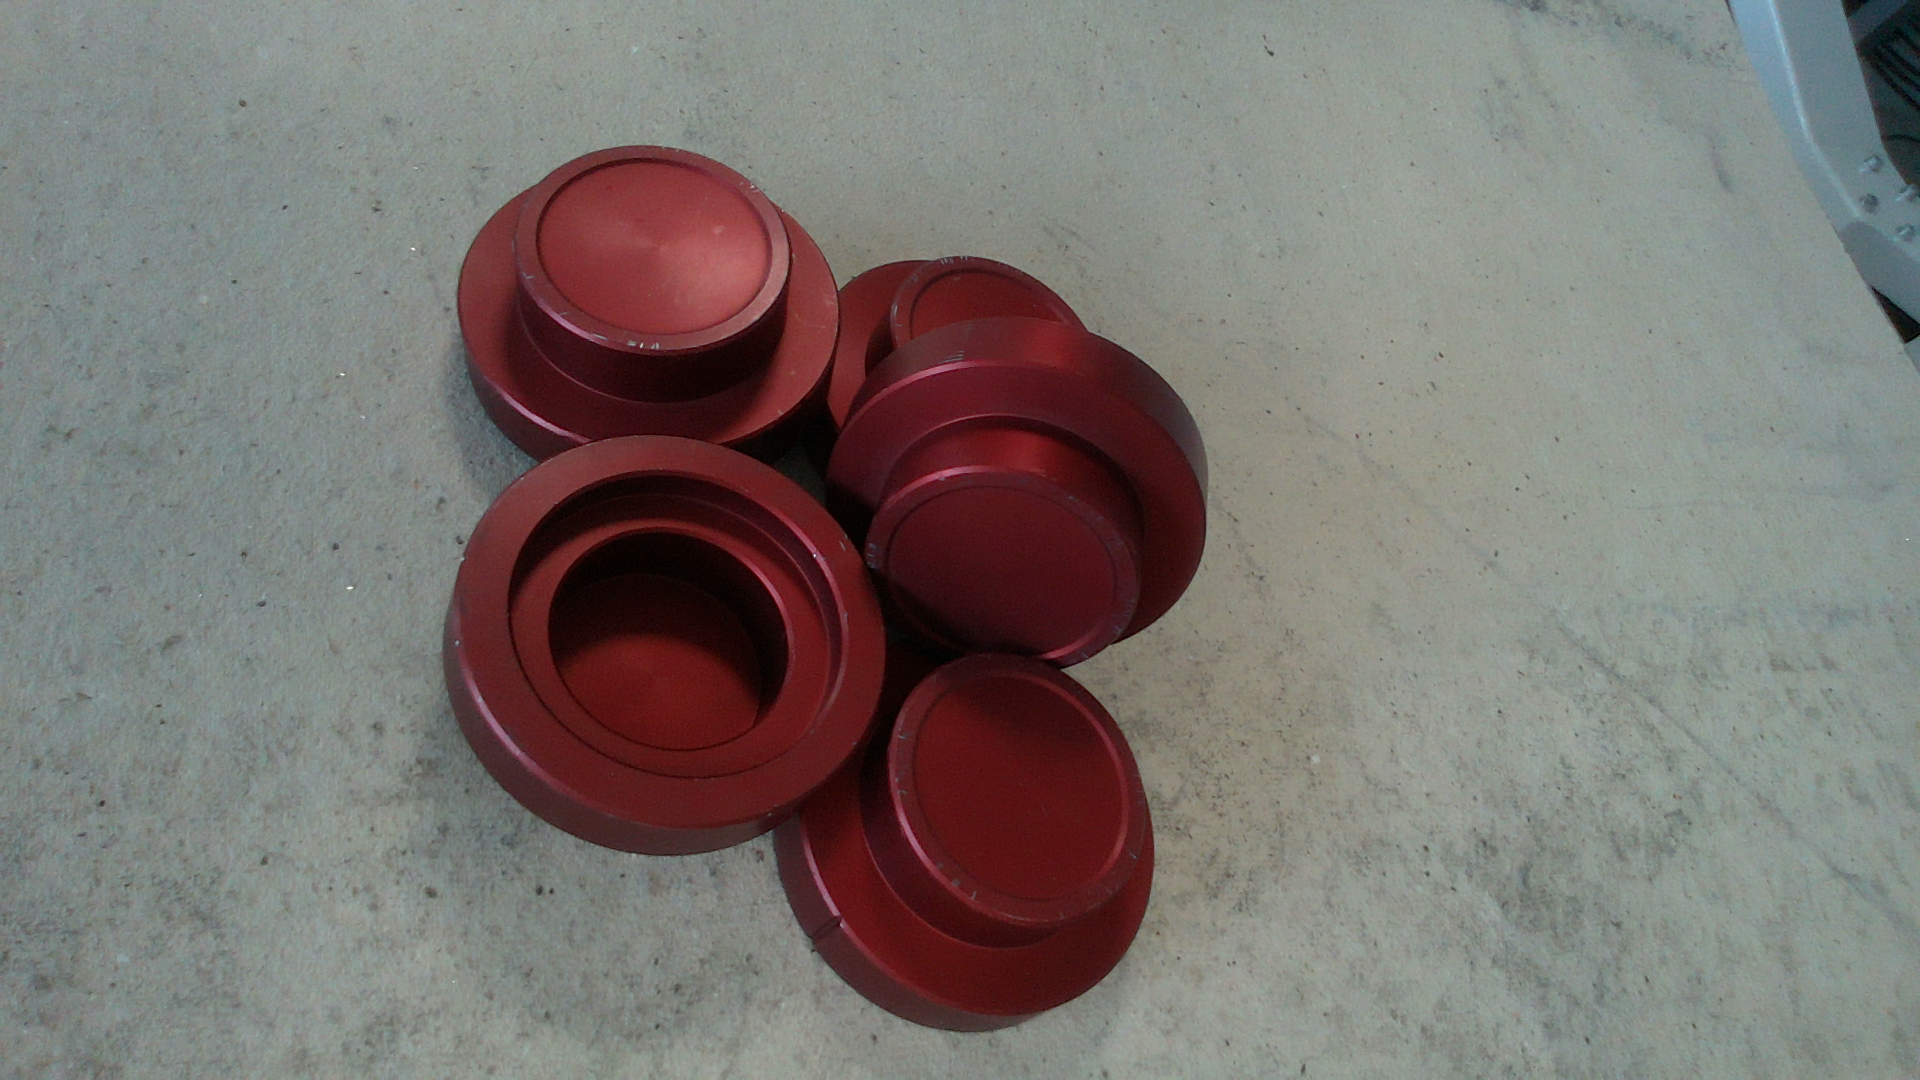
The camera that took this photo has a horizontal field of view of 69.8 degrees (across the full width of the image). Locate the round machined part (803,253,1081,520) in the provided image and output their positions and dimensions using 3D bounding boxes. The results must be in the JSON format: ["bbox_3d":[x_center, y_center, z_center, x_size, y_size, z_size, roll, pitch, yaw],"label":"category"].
[{"bbox_3d":[0.004,-0.045,0.408,0.098,0.042,0.098,14,54,-21],"label":"round machined part"}]

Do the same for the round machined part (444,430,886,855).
[{"bbox_3d":[-0.071,0.026,0.325,0.098,0.042,0.098,13,57,-21],"label":"round machined part"}]

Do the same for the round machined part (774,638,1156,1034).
[{"bbox_3d":[0.007,0.067,0.341,0.098,0.042,0.098,14,54,-20],"label":"round machined part"}]

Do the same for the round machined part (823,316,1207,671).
[{"bbox_3d":[0.013,-0.004,0.349,0.098,0.098,0.042,26,39,-12],"label":"round machined part"}]

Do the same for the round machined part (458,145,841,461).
[{"bbox_3d":[-0.080,-0.064,0.361,0.098,0.042,0.098,6,59,-9],"label":"round machined part"}]
